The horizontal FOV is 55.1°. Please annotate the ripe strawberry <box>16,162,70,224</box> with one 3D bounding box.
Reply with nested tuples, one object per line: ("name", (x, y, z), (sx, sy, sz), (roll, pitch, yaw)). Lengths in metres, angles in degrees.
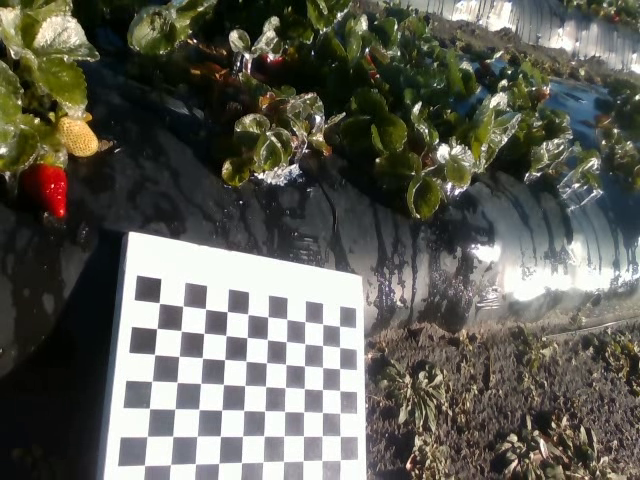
("ripe strawberry", (-0.234, -0.045, 0.538), (0.041, 0.052, 0.040), (-8, -17, -40))
